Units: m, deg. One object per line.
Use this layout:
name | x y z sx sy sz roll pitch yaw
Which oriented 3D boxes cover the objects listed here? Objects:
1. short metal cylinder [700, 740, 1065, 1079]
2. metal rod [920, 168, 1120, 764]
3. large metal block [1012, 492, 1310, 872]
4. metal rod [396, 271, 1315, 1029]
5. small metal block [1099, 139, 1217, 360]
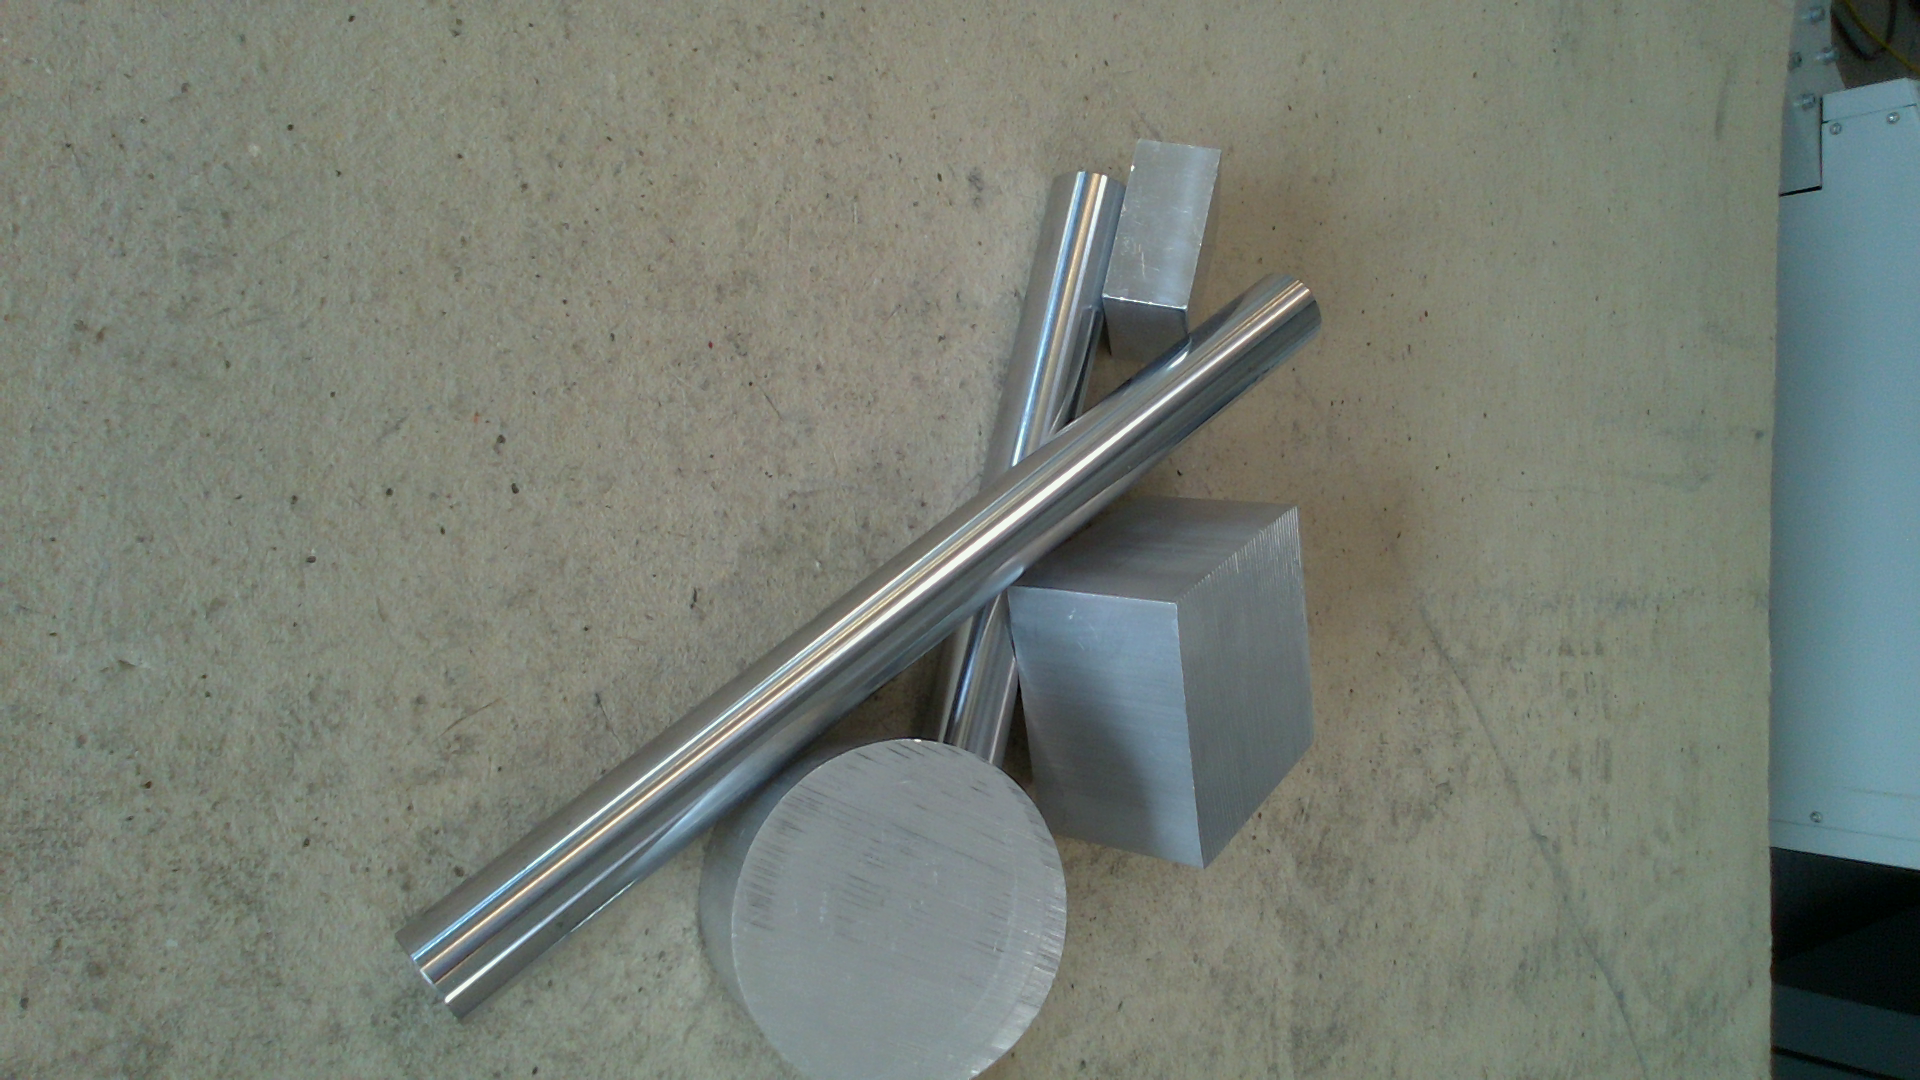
short metal cylinder | -0.021 0.089 0.339 0.080 0.050 0.080 2 83 -19
metal rod | 0.006 0.036 0.393 0.025 0.025 0.300 22 76 -38
large metal block | 0.062 0.037 0.405 0.080 0.050 0.080 -31 119 -49
metal rod | -0.007 0.012 0.361 0.301 0.025 0.025 -38 114 -26
small metal block | 0.062 -0.087 0.424 0.050 0.025 0.050 55 46 -74
